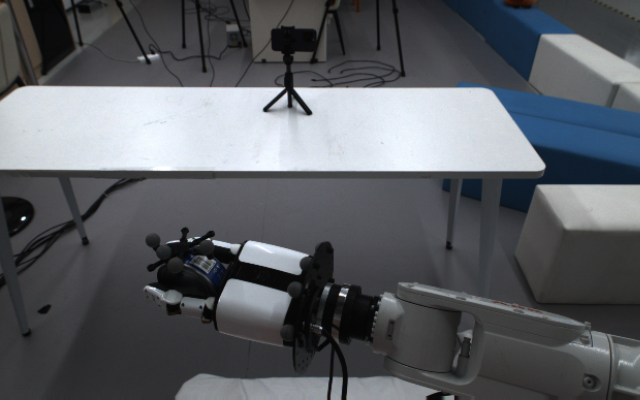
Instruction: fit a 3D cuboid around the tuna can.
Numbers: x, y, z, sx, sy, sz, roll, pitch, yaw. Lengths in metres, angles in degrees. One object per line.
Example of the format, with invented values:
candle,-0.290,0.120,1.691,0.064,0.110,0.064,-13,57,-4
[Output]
tuna can,-0.154,0.100,0.604,0.085,0.085,0.034,14,40,16
